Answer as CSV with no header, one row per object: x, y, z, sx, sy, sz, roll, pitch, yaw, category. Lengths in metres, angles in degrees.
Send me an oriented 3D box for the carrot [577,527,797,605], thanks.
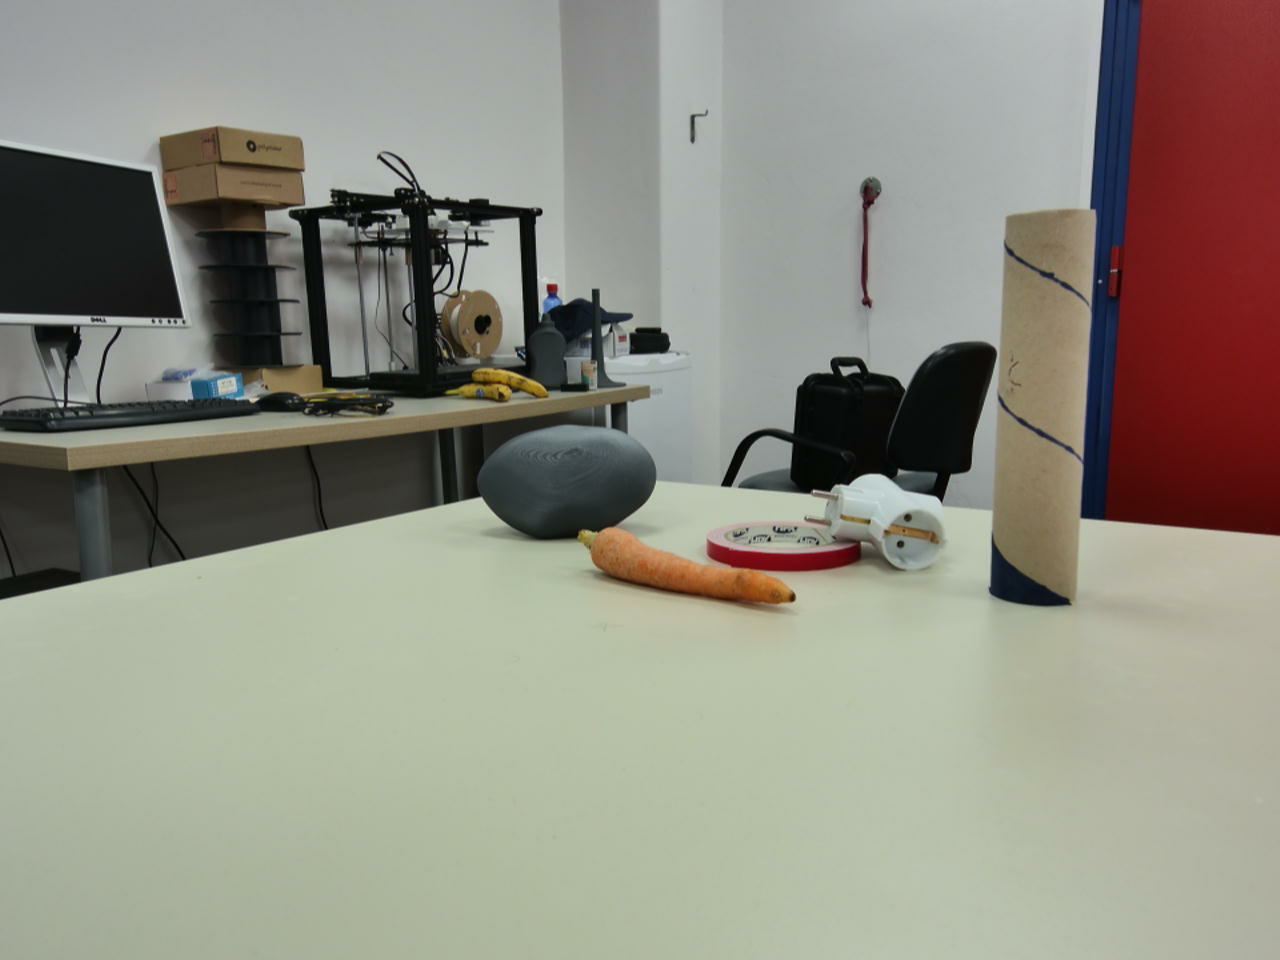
0.024,0.053,0.623,0.173,0.032,0.030,7,9,44,carrot
